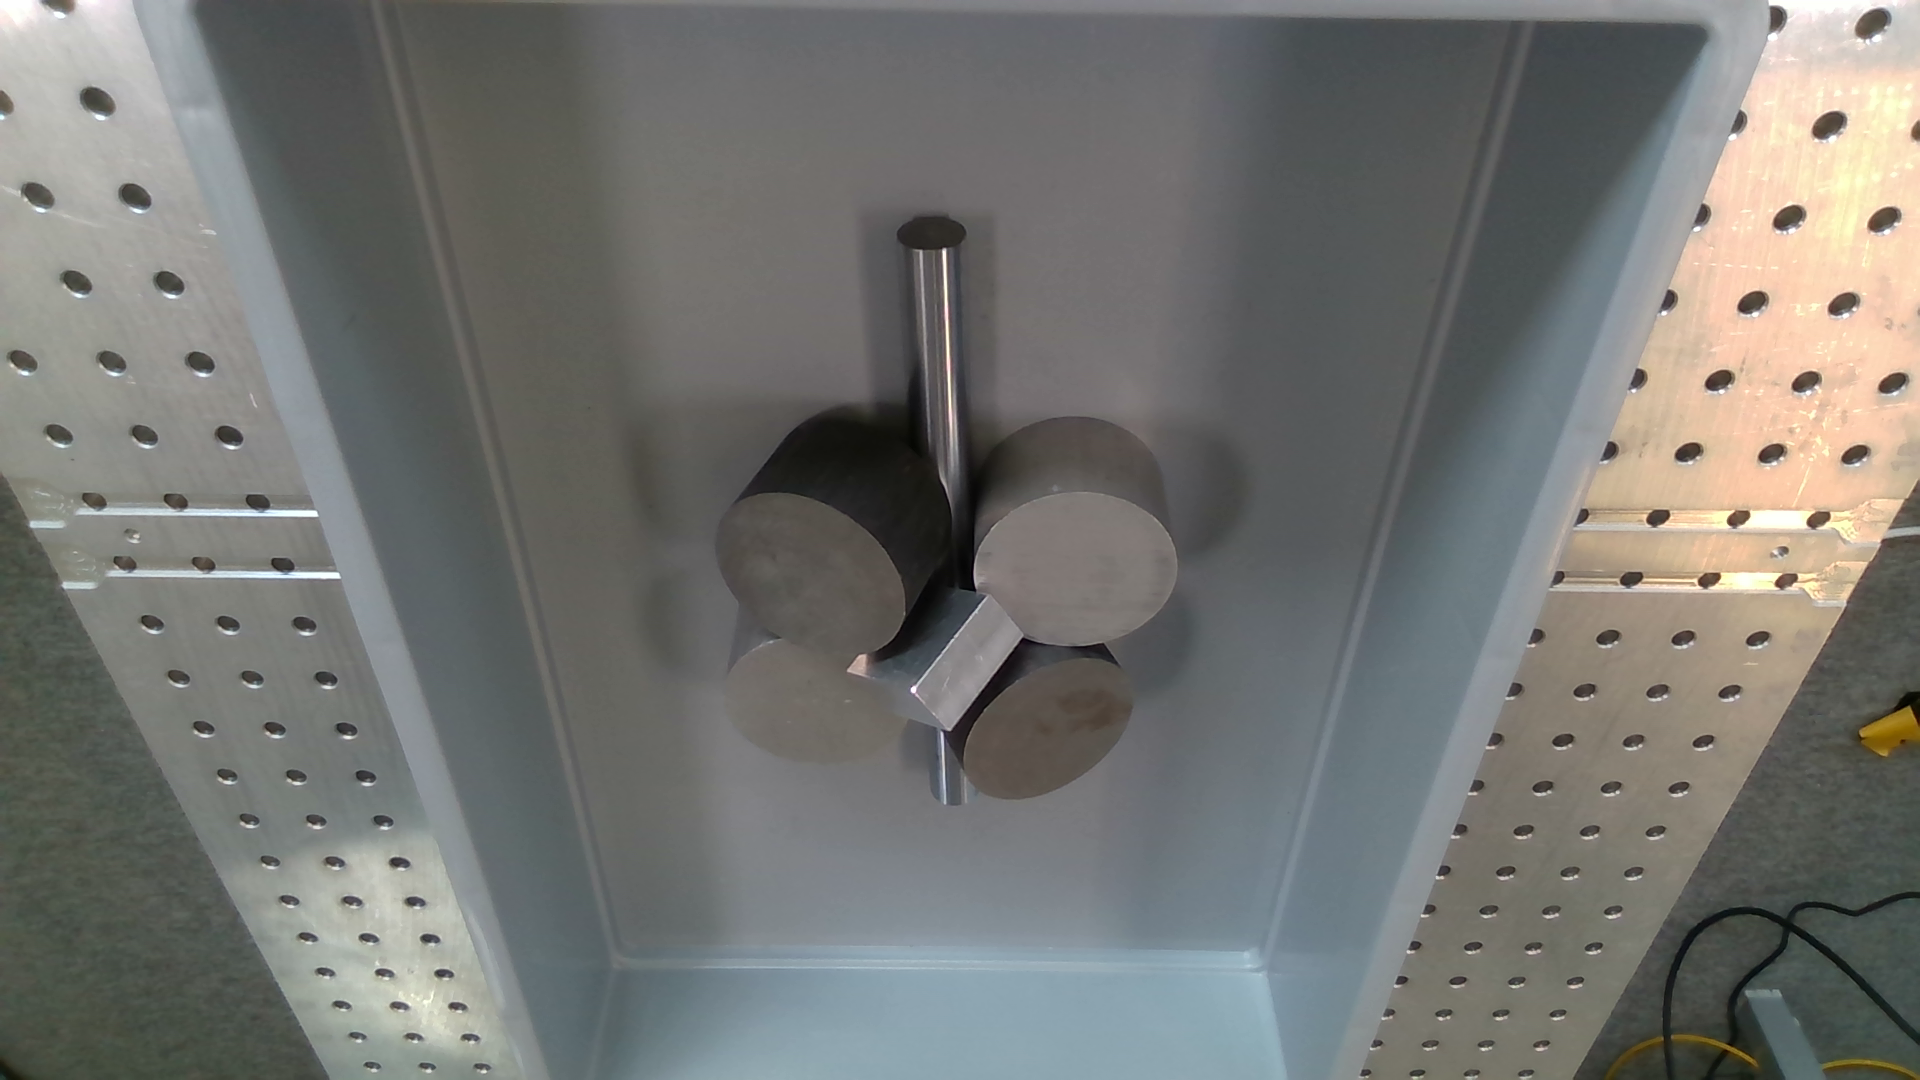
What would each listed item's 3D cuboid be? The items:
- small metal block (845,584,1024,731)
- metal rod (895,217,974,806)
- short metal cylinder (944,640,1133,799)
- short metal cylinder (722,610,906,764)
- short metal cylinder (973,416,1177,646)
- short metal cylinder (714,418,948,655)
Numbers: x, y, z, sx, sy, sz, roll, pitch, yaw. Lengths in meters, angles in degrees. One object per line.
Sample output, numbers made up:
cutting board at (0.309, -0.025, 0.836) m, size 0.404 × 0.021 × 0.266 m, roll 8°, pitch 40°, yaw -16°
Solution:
small metal block at (-0.011, 0.045, 0.554) m, size 0.025 × 0.050 × 0.050 m, roll 50°, pitch 156°, yaw -27°
metal rod at (-0.007, 0.006, 0.583) m, size 0.025 × 0.025 × 0.301 m, roll -1°, pitch 130°, yaw 1°
short metal cylinder at (0.028, 0.066, 0.601) m, size 0.080 × 0.050 × 0.080 m, roll -15°, pitch 132°, yaw -18°
short metal cylinder at (-0.061, 0.053, 0.607) m, size 0.080 × 0.050 × 0.080 m, roll 0°, pitch 130°, yaw 0°
short metal cylinder at (0.045, -0.003, 0.559) m, size 0.080 × 0.050 × 0.080 m, roll 0°, pitch 130°, yaw 0°
short metal cylinder at (-0.050, -0.001, 0.545) m, size 0.080 × 0.050 × 0.080 m, roll 13°, pitch 133°, yaw 15°
